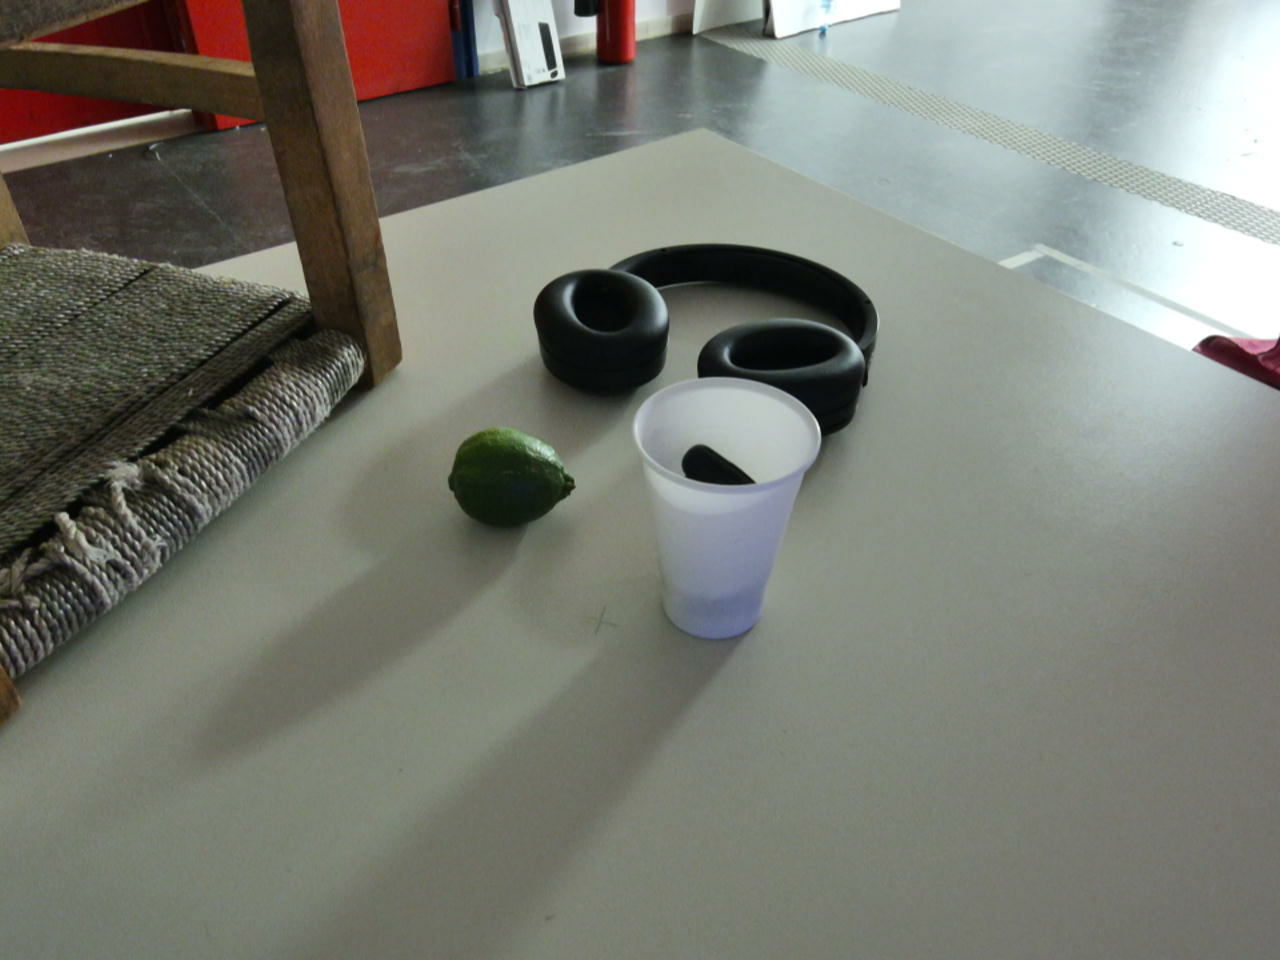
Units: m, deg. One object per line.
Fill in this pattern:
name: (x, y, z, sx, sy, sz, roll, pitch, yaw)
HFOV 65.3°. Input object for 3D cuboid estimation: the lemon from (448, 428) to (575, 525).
lemon: (-0.069, -0.002, 0.514, 0.057, 0.051, 0.054, -27, 46, -32)
